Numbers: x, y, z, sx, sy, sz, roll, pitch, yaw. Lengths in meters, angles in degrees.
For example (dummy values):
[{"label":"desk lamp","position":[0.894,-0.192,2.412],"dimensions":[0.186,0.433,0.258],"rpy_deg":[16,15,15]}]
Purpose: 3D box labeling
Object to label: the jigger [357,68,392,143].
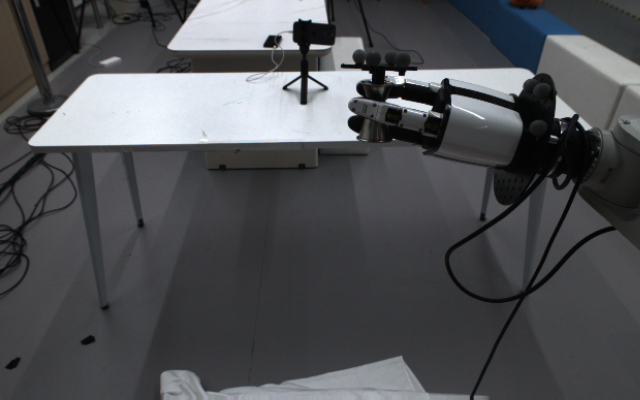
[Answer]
[{"label":"jigger","position":[0.067,-0.108,0.587],"dimensions":[0.043,0.071,0.043],"rpy_deg":[1,20,0]}]
